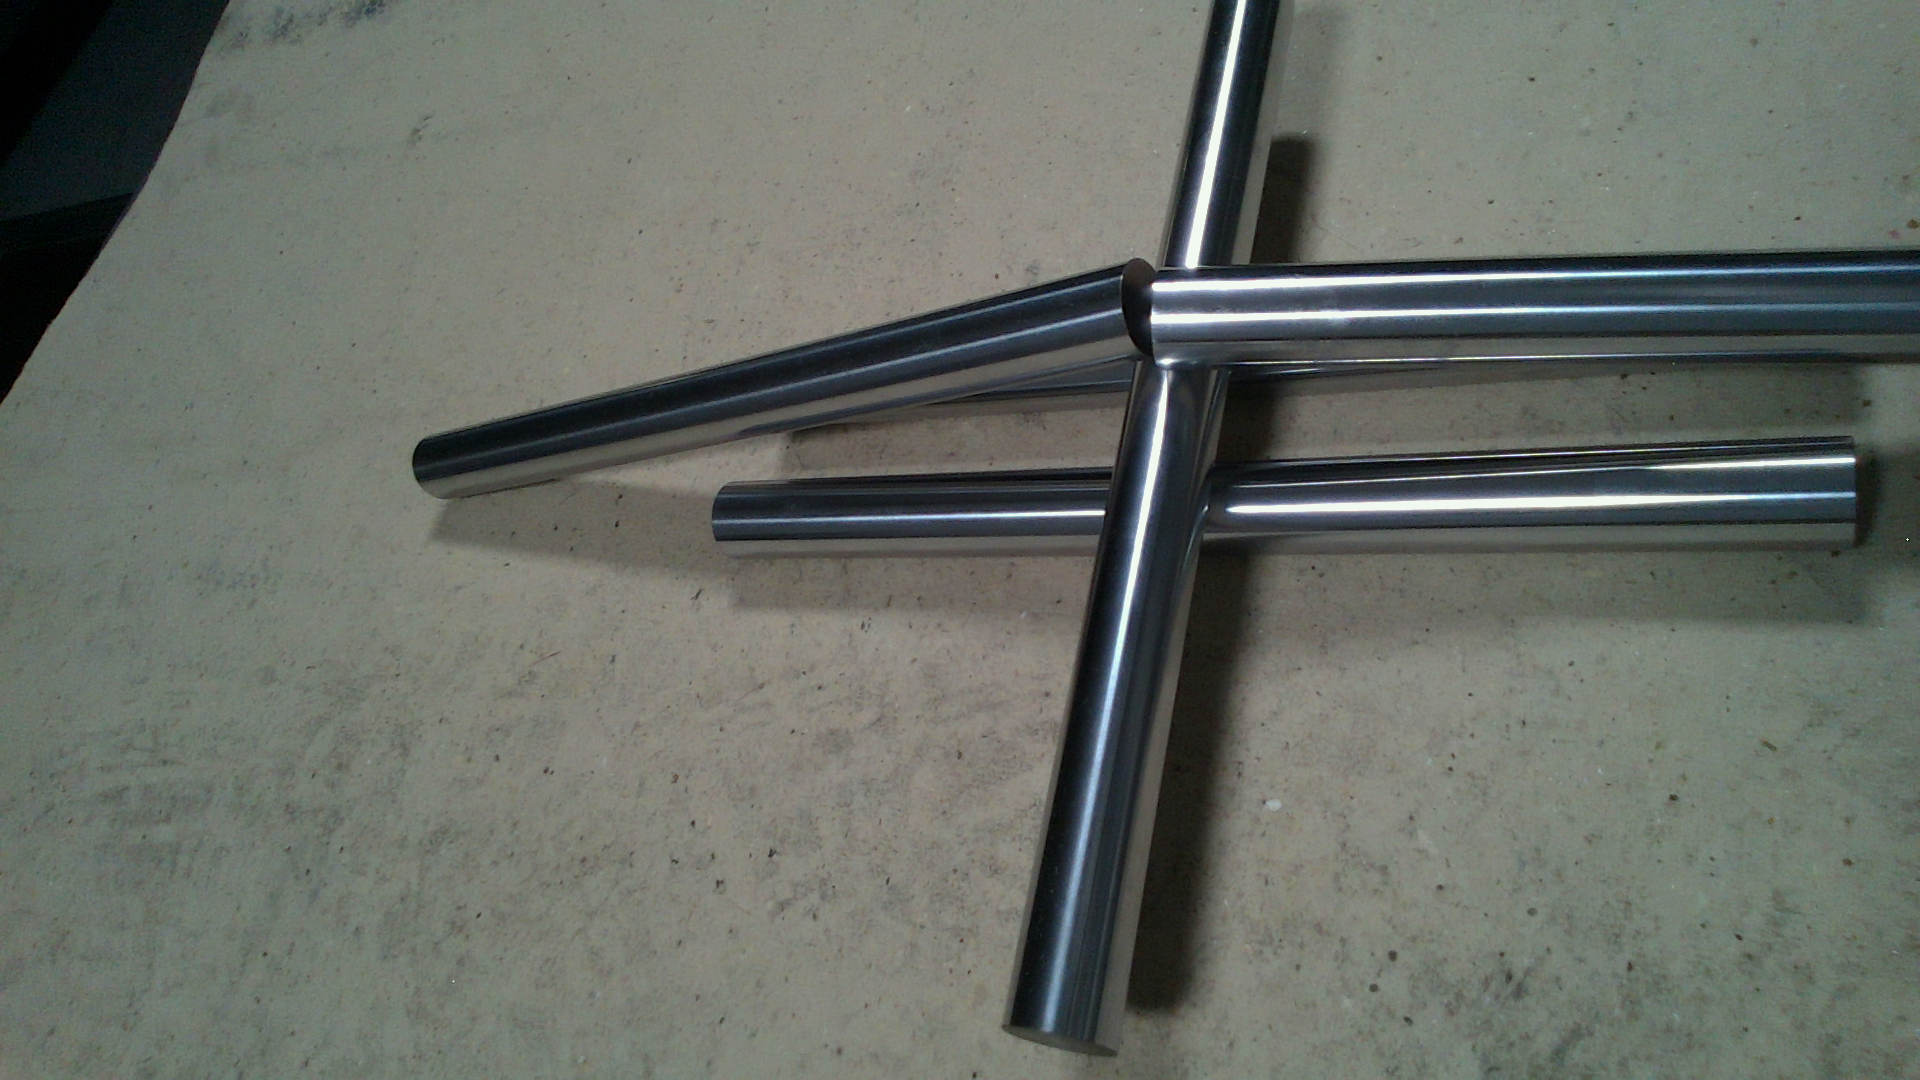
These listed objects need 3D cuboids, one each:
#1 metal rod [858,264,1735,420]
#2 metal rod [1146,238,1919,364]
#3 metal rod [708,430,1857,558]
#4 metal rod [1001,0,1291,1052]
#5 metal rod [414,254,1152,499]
[{"bbox_3d":[0.071,-0.053,0.387,0.299,0.025,0.025,-1,61,28],"label":"metal rod"},{"bbox_3d":[0.190,-0.051,0.290,0.299,0.025,0.025,2,62,18],"label":"metal rod"},{"bbox_3d":[0.060,-0.009,0.366,0.299,0.025,0.025,-1,61,28],"label":"metal rod"},{"bbox_3d":[0.054,-0.028,0.350,0.025,0.025,0.300,-1,61,28],"label":"metal rod"},{"bbox_3d":[-0.073,-0.043,0.428,0.299,0.025,0.025,-7,58,36],"label":"metal rod"}]
